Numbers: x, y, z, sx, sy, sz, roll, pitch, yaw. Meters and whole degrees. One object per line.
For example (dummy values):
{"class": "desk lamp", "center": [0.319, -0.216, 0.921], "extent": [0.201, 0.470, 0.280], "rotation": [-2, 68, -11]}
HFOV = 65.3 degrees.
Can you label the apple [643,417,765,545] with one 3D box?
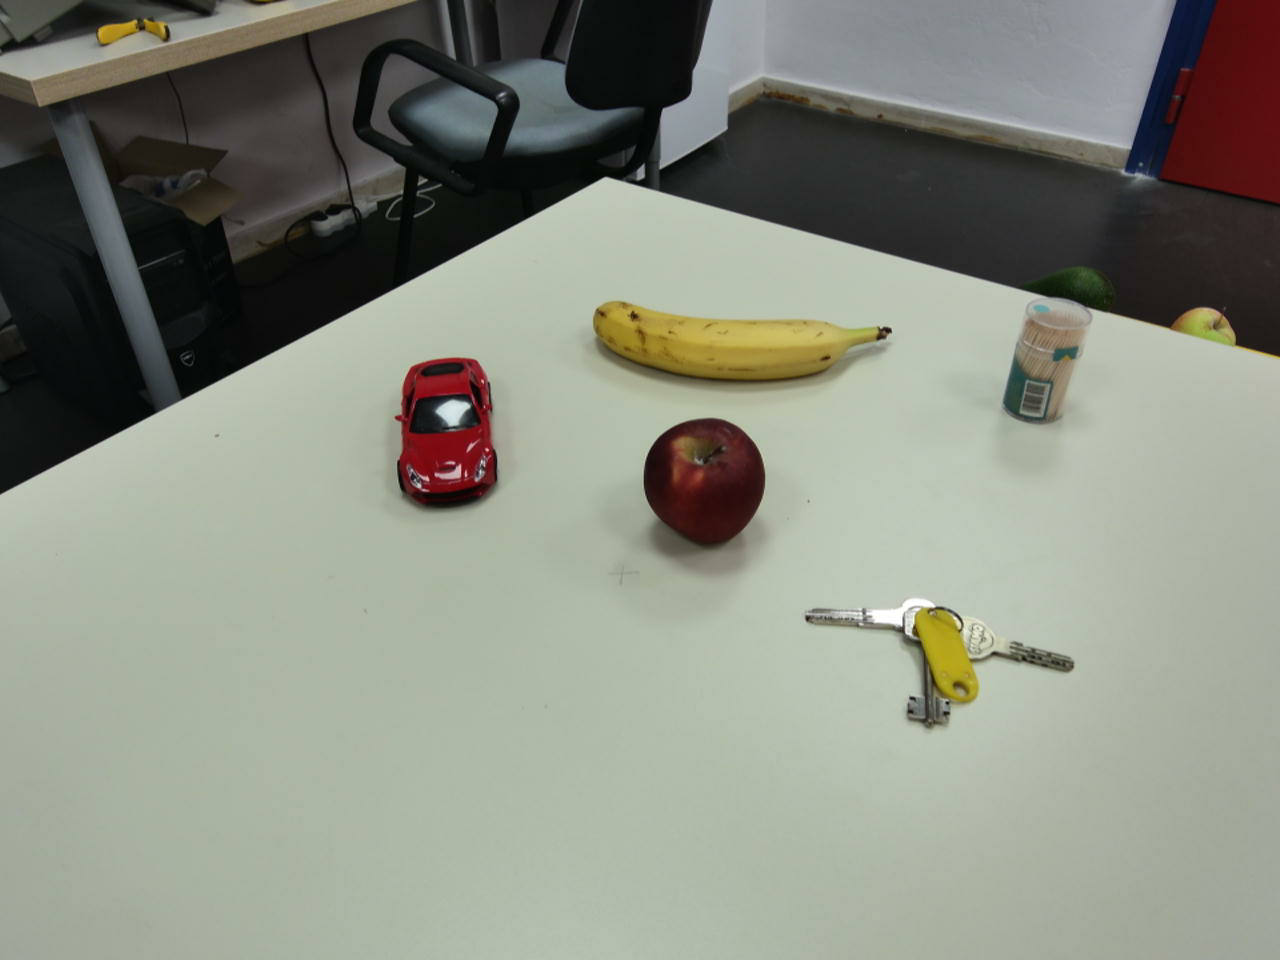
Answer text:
{"class": "apple", "center": [0.037, 0.001, 0.566], "extent": [0.070, 0.072, 0.070], "rotation": [0, 38, 0]}
